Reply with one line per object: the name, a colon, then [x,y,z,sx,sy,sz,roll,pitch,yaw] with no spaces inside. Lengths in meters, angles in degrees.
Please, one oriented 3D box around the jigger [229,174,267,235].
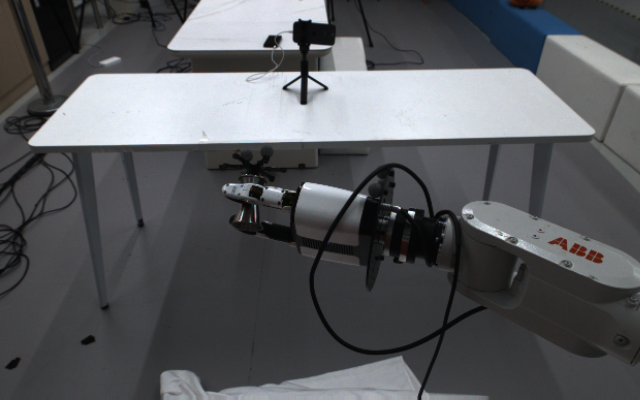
jigger: [-0.096,0.003,0.654,0.043,0.043,0.071,5,71,4]
